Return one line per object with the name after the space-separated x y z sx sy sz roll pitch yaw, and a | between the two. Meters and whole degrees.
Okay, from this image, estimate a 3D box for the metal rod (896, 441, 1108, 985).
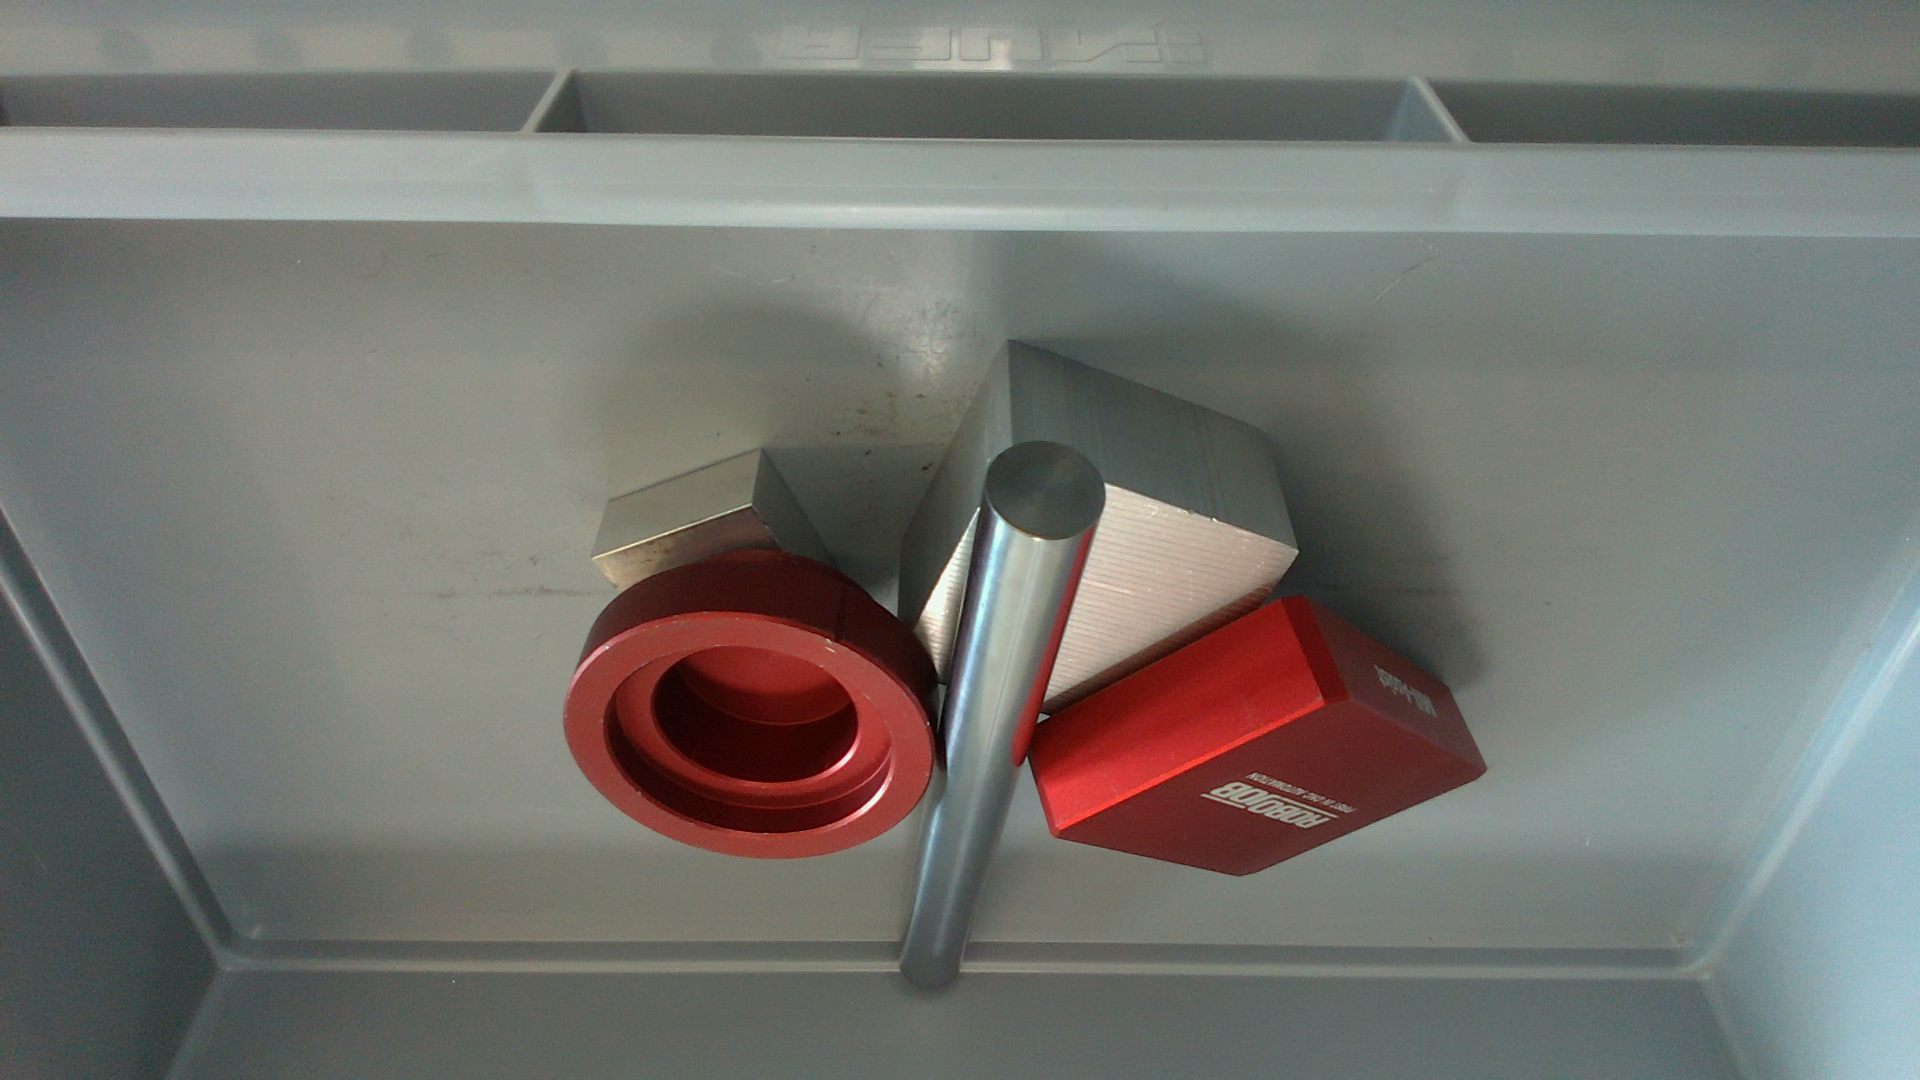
0.003 0.073 0.399 0.025 0.025 0.300 4 146 -4 | metal rod

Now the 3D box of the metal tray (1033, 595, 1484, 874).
0.090 0.063 0.407 0.090 0.030 0.130 -31 148 24 | metal tray

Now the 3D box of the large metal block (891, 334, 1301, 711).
0.033 0.002 0.375 0.080 0.050 0.080 18 128 -15 | large metal block

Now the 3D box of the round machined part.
-0.055 0.042 0.377 0.098 0.042 0.098 2 131 2 | round machined part

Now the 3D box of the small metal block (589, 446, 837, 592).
-0.069 0.007 0.395 0.050 0.025 0.050 -17 128 14 | small metal block
